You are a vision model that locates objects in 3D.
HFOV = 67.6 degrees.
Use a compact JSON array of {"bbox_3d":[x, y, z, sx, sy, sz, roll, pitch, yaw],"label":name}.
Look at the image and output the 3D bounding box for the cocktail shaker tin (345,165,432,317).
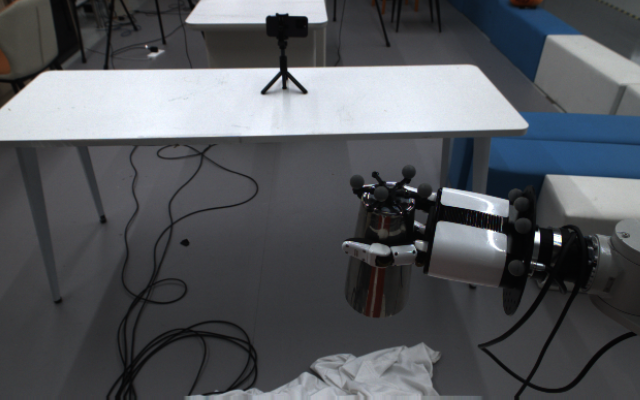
[{"bbox_3d":[0.086,0.062,0.640,0.093,0.170,0.093,1,39,-1],"label":"cocktail shaker tin"}]
